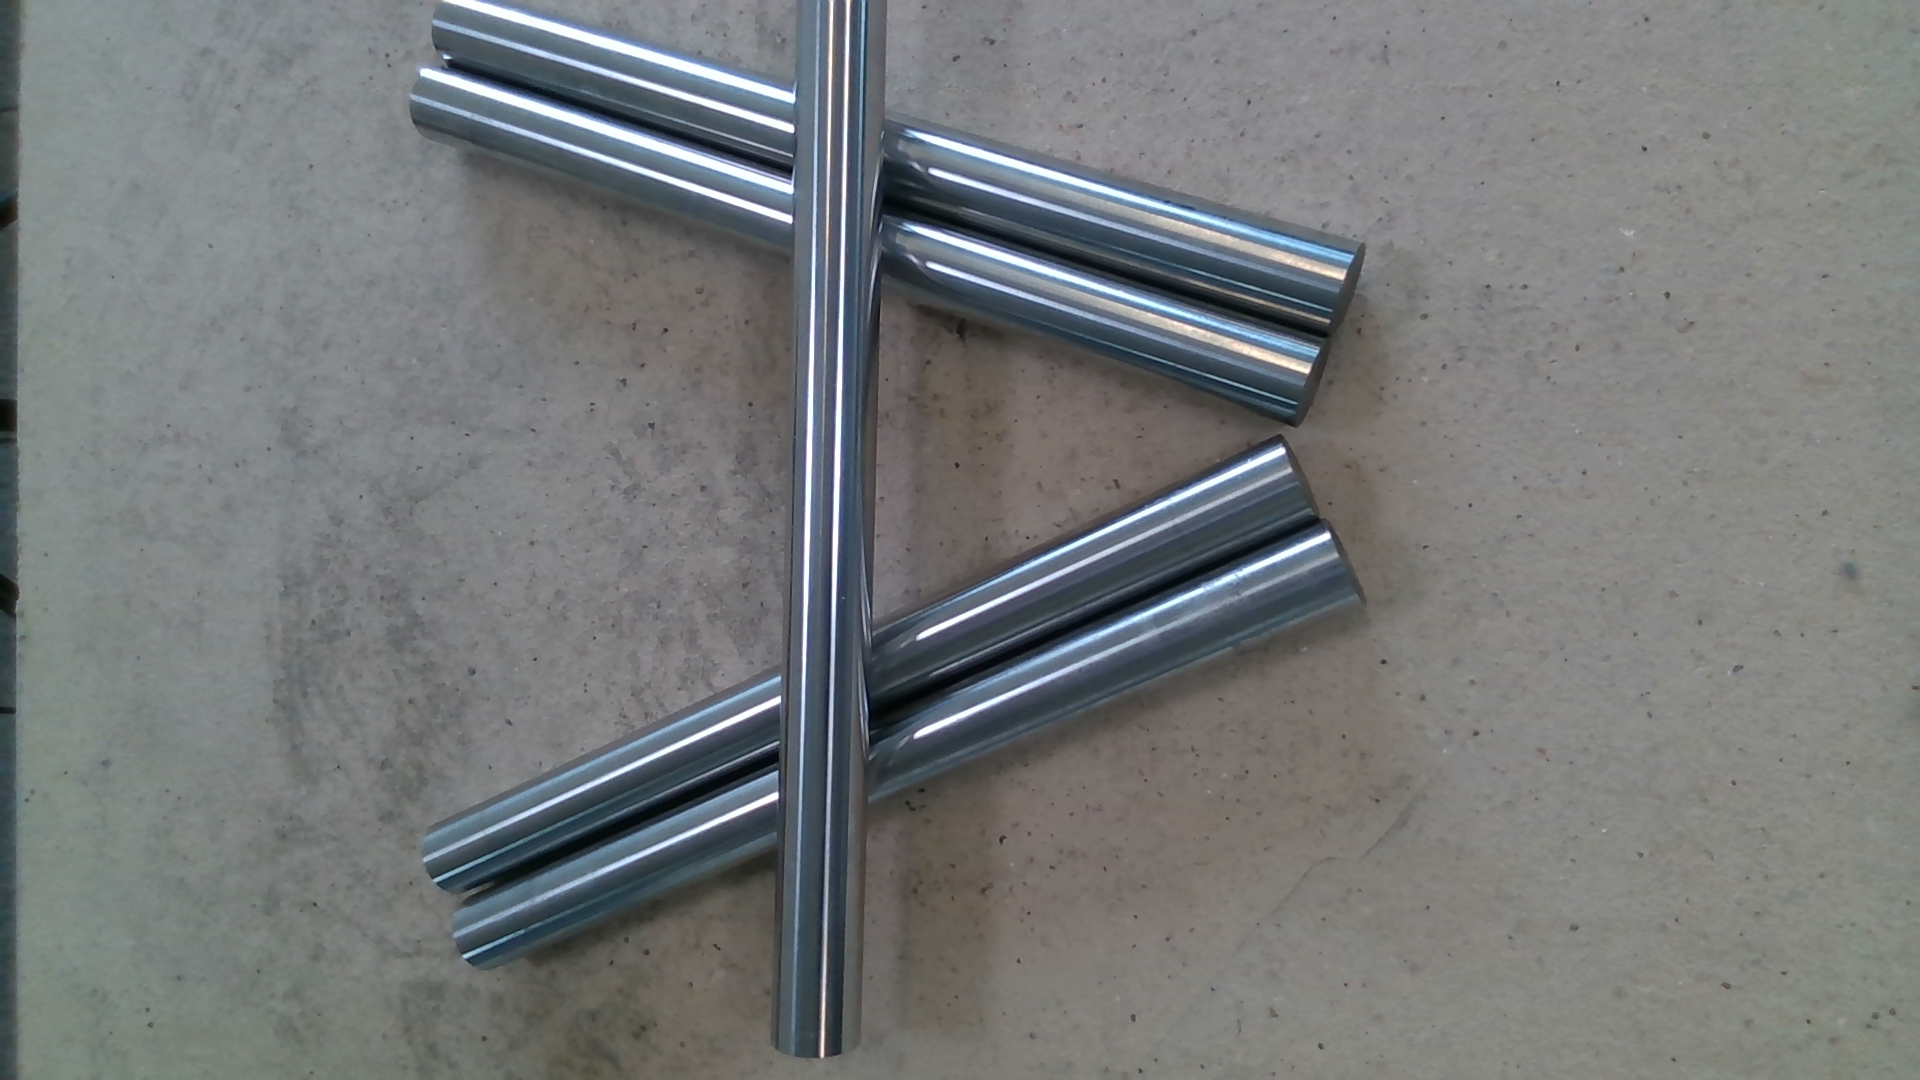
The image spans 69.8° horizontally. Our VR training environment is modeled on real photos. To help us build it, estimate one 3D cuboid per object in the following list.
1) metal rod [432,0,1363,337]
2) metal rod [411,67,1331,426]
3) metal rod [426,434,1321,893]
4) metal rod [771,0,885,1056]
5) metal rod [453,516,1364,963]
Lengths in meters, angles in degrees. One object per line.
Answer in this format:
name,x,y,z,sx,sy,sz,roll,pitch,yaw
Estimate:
metal rod,-0.032,-0.116,0.404,0.300,0.025,0.025,21,97,19
metal rod,-0.040,-0.093,0.408,0.300,0.025,0.025,21,97,19
metal rod,-0.039,0.044,0.409,0.300,0.025,0.025,-25,82,19
metal rod,-0.036,-0.011,0.381,0.025,0.025,0.300,2,91,20
metal rod,-0.029,0.066,0.406,0.300,0.025,0.025,-25,82,19
